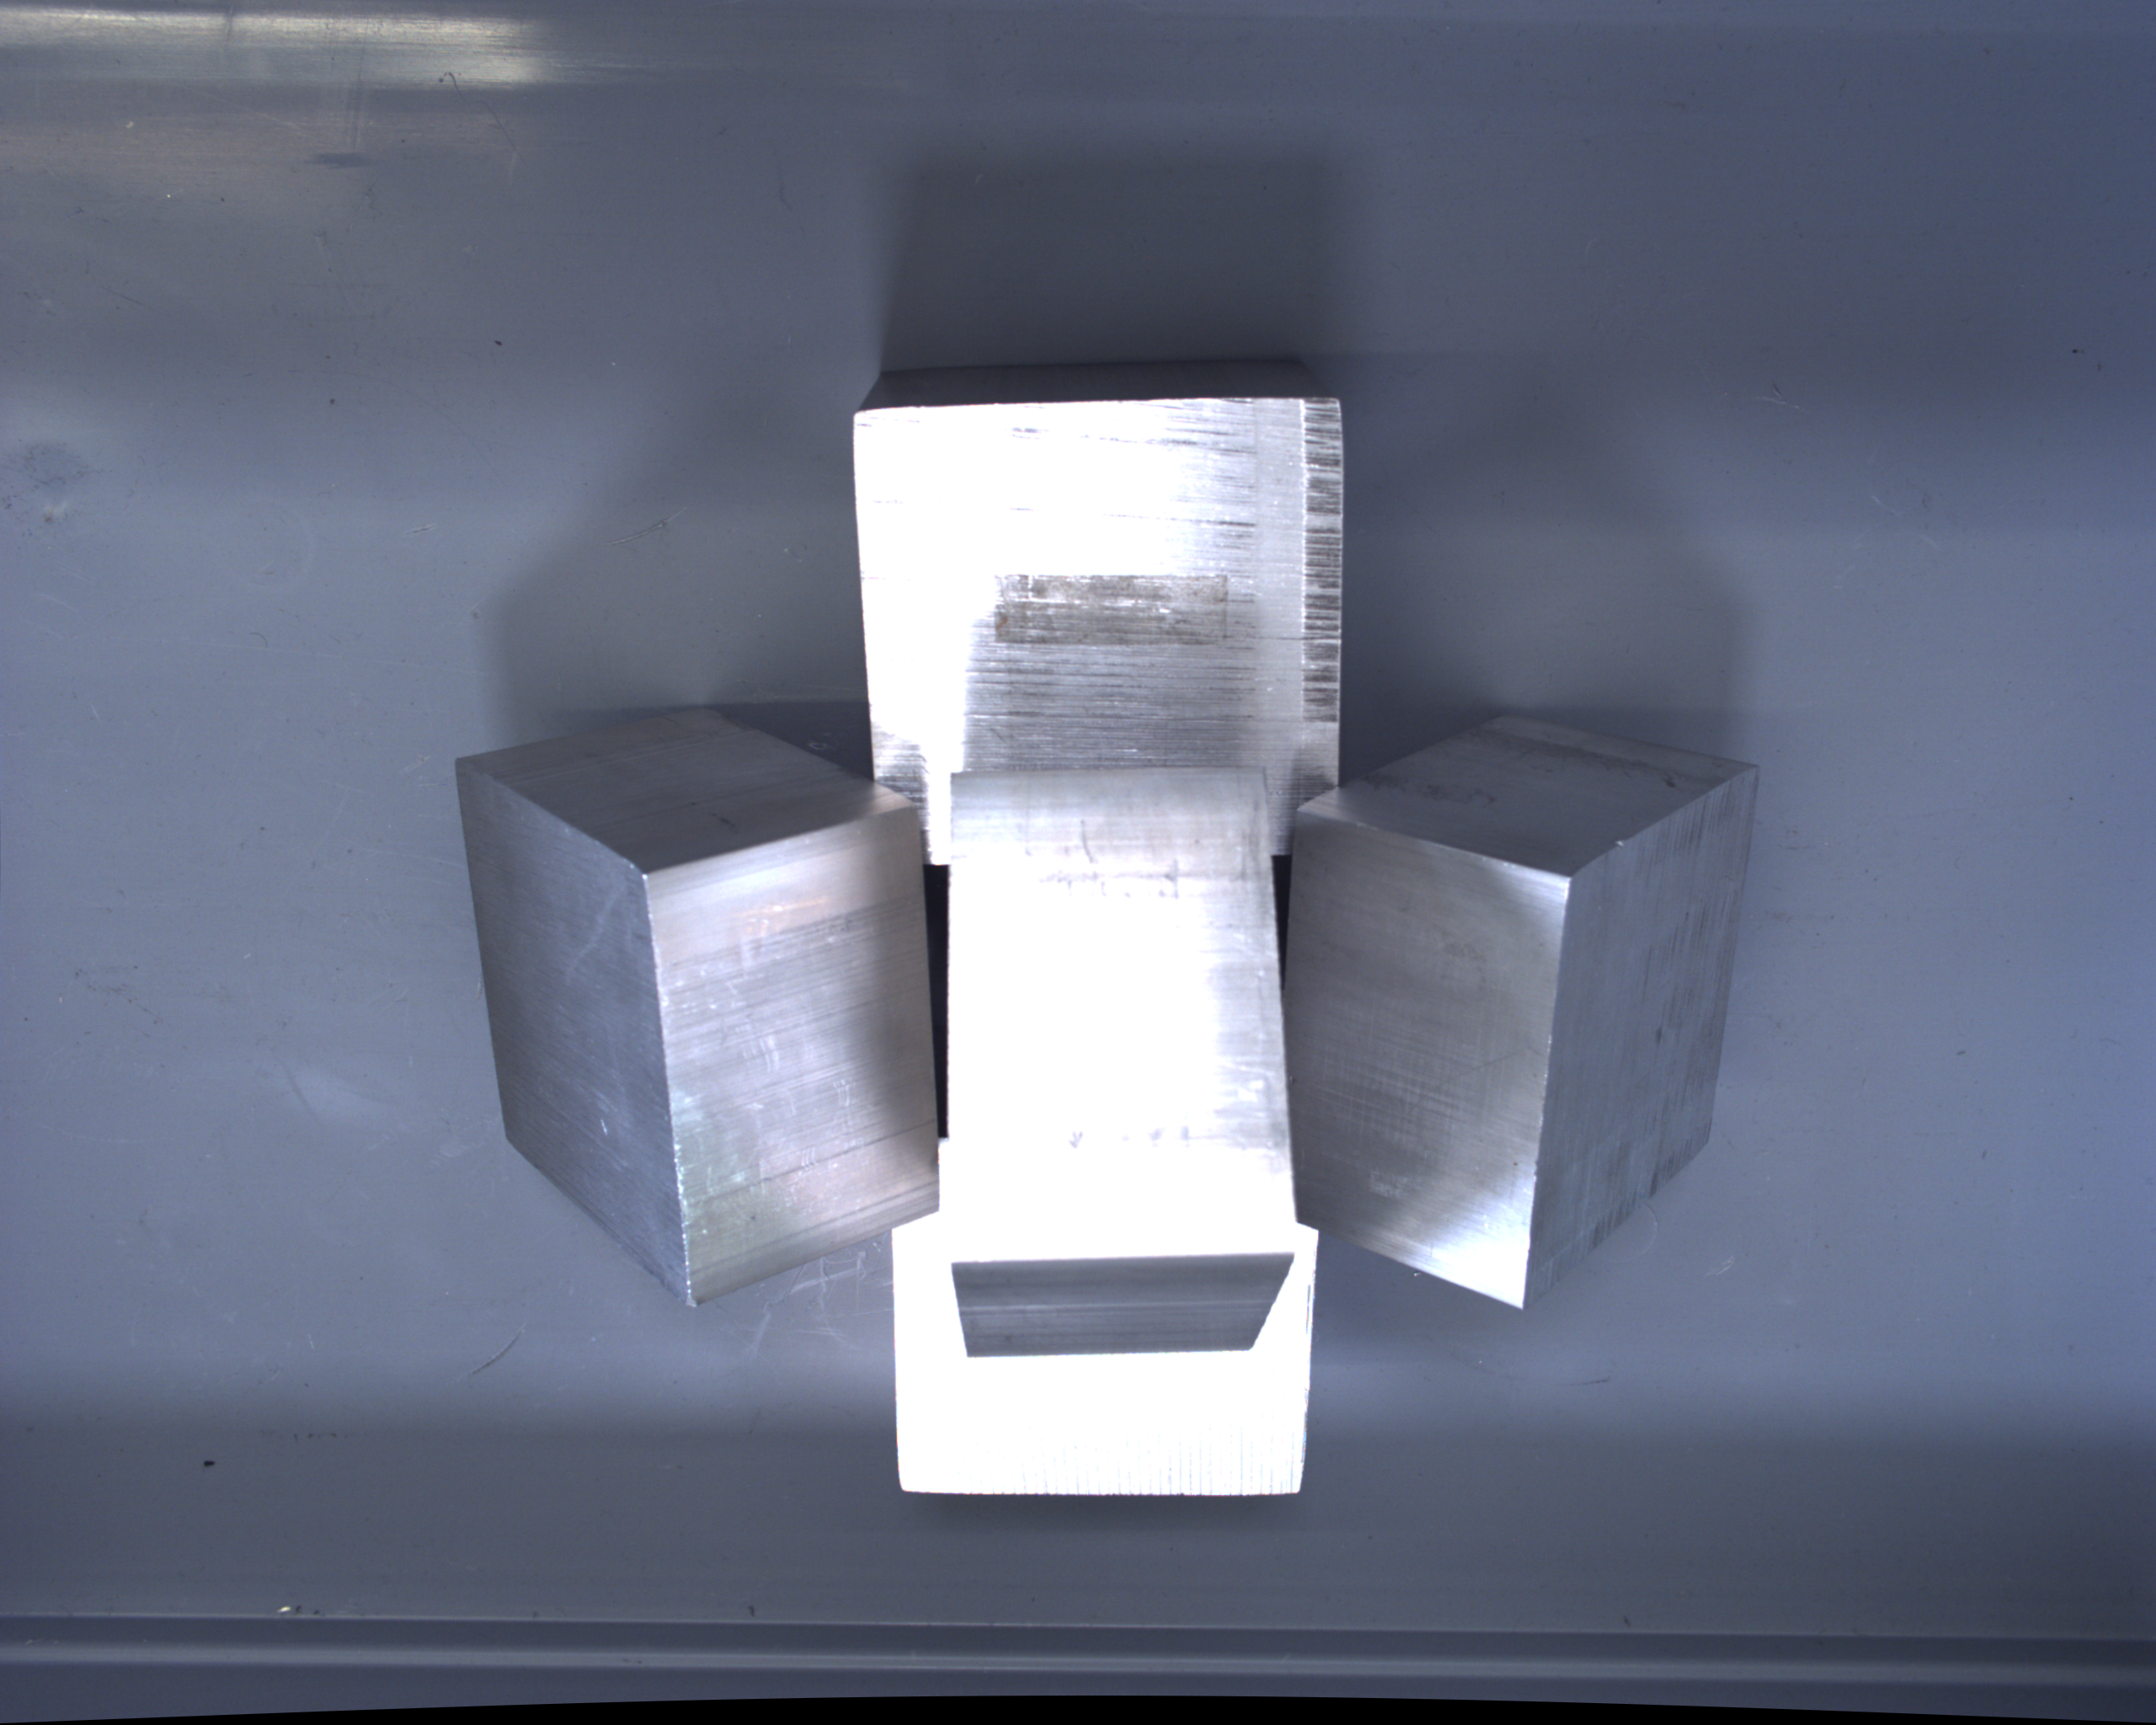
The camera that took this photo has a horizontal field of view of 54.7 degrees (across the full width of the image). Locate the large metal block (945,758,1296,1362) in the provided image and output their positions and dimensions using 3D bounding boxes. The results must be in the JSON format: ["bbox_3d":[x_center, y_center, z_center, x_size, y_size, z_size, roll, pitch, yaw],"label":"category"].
[{"bbox_3d":[0.005,0.036,0.351,0.050,0.080,0.080,-1,66,-1],"label":"large metal block"}]

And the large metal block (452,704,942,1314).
[{"bbox_3d":[-0.070,0.022,0.380,0.050,0.080,0.079,-16,115,-33],"label":"large metal block"}]

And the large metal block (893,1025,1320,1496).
[{"bbox_3d":[0.005,0.080,0.426,0.081,0.050,0.079,1,110,-1],"label":"large metal block"}]

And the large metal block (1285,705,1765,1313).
[{"bbox_3d":[0.081,0.022,0.382,0.050,0.081,0.079,17,116,35],"label":"large metal block"}]

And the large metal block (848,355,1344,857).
[{"bbox_3d":[0.004,-0.048,0.376,0.080,0.050,0.079,-1,110,0],"label":"large metal block"}]
